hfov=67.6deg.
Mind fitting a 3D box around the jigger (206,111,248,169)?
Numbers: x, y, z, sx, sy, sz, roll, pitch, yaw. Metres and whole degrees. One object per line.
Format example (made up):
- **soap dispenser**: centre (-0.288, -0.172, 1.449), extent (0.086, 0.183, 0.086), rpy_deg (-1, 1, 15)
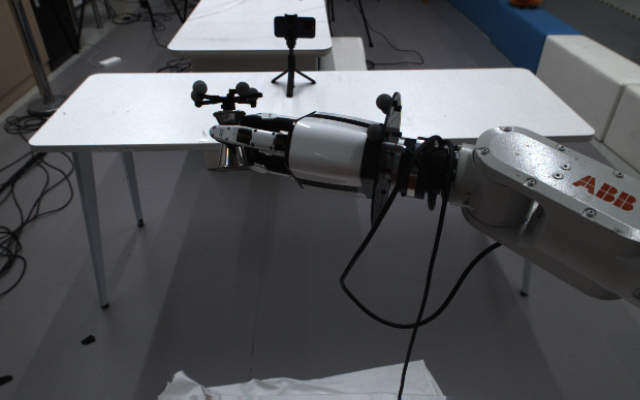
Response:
- **jigger**: centre (-0.110, -0.073, 0.600), extent (0.043, 0.071, 0.043), rpy_deg (-4, 1, 0)
